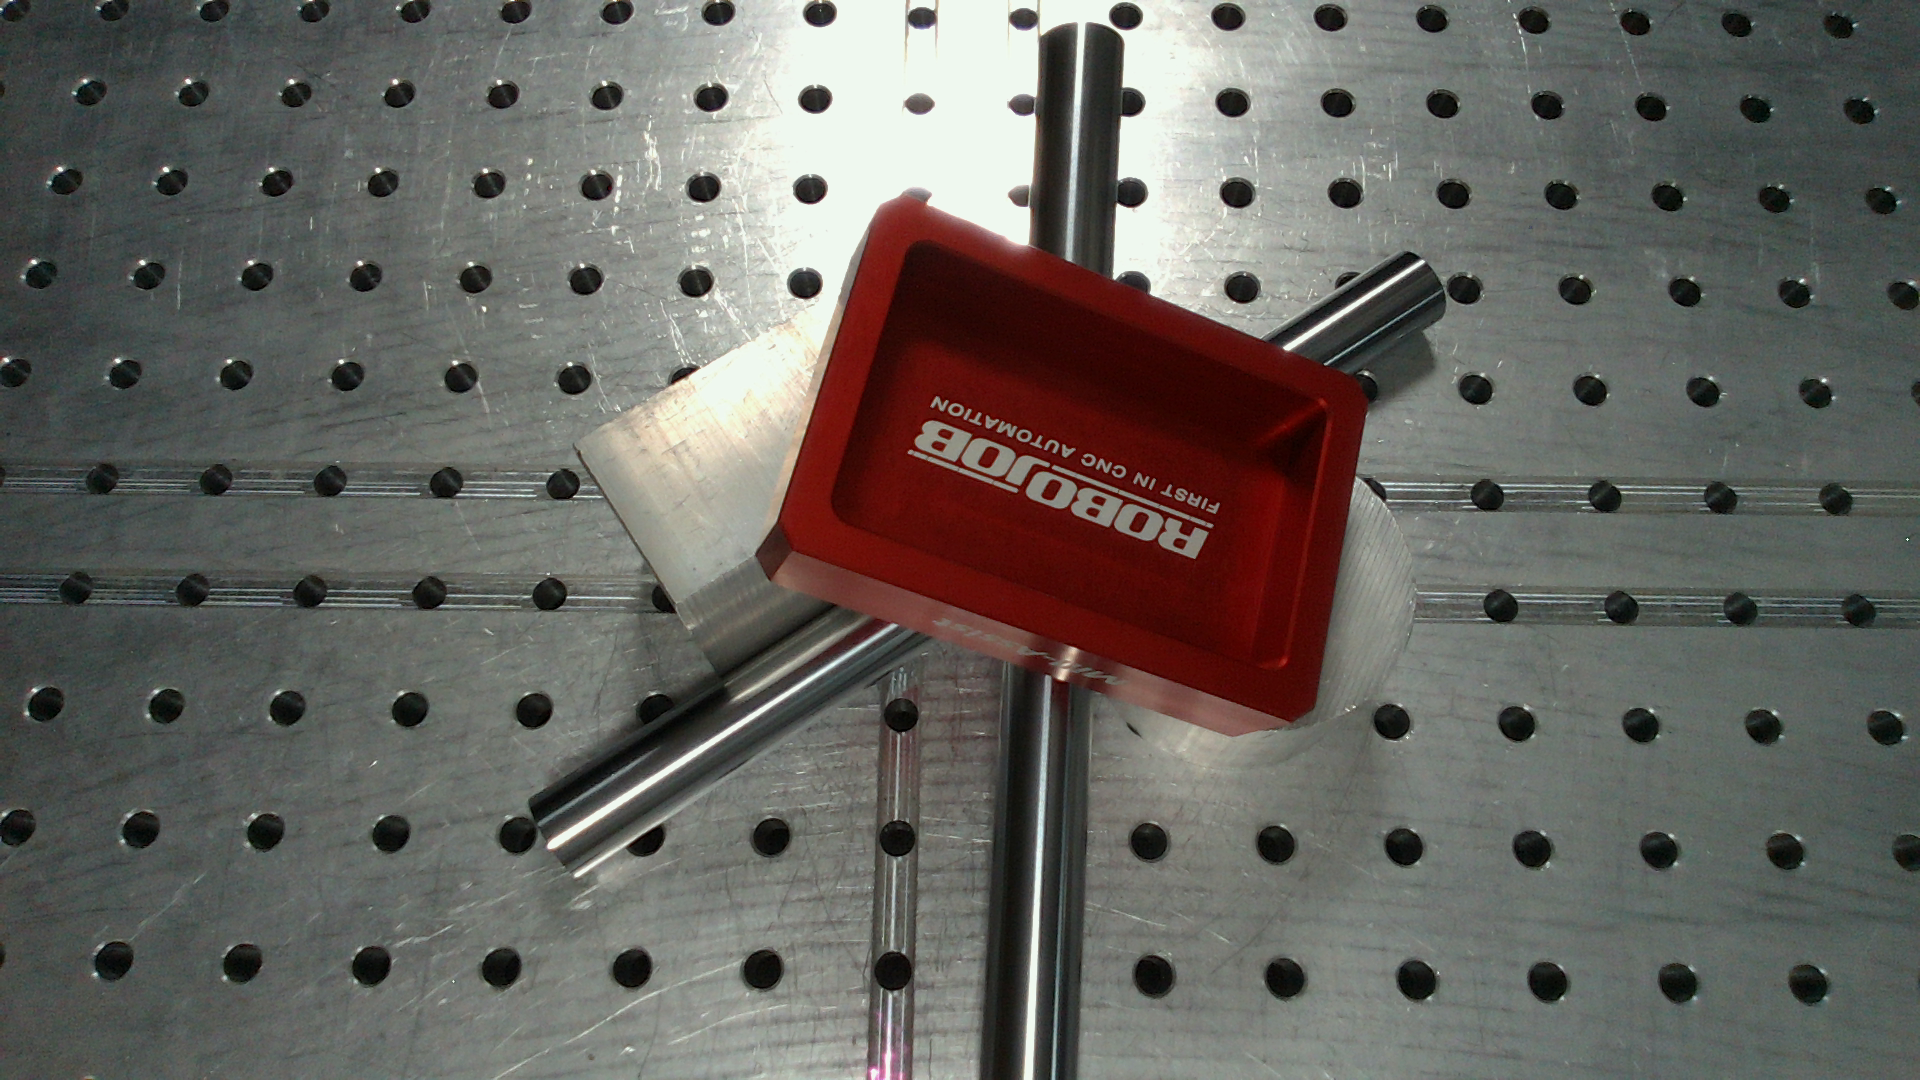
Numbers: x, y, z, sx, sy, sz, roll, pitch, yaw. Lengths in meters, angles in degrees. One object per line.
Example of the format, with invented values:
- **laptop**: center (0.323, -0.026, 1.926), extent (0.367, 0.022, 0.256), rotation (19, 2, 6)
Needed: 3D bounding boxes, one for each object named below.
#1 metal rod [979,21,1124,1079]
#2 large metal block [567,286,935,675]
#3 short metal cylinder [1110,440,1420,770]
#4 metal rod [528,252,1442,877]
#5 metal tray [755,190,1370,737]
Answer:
- **metal rod**: center (0.026, 0.003, 0.372), extent (0.025, 0.025, 0.300), rotation (3, 79, 1)
- **large metal block**: center (-0.048, -0.011, 0.371), extent (0.080, 0.080, 0.050), rotation (-32, 73, -11)
- **short metal cylinder**: center (0.078, 0.018, 0.376), extent (0.080, 0.050, 0.080), rotation (0, 70, 0)
- **metal rod**: center (0.016, 0.001, 0.397), extent (0.300, 0.025, 0.025), rotation (-32, 73, -11)
- **metal tray**: center (0.027, -0.016, 0.325), extent (0.130, 0.030, 0.090), rotation (19, 70, -13)
